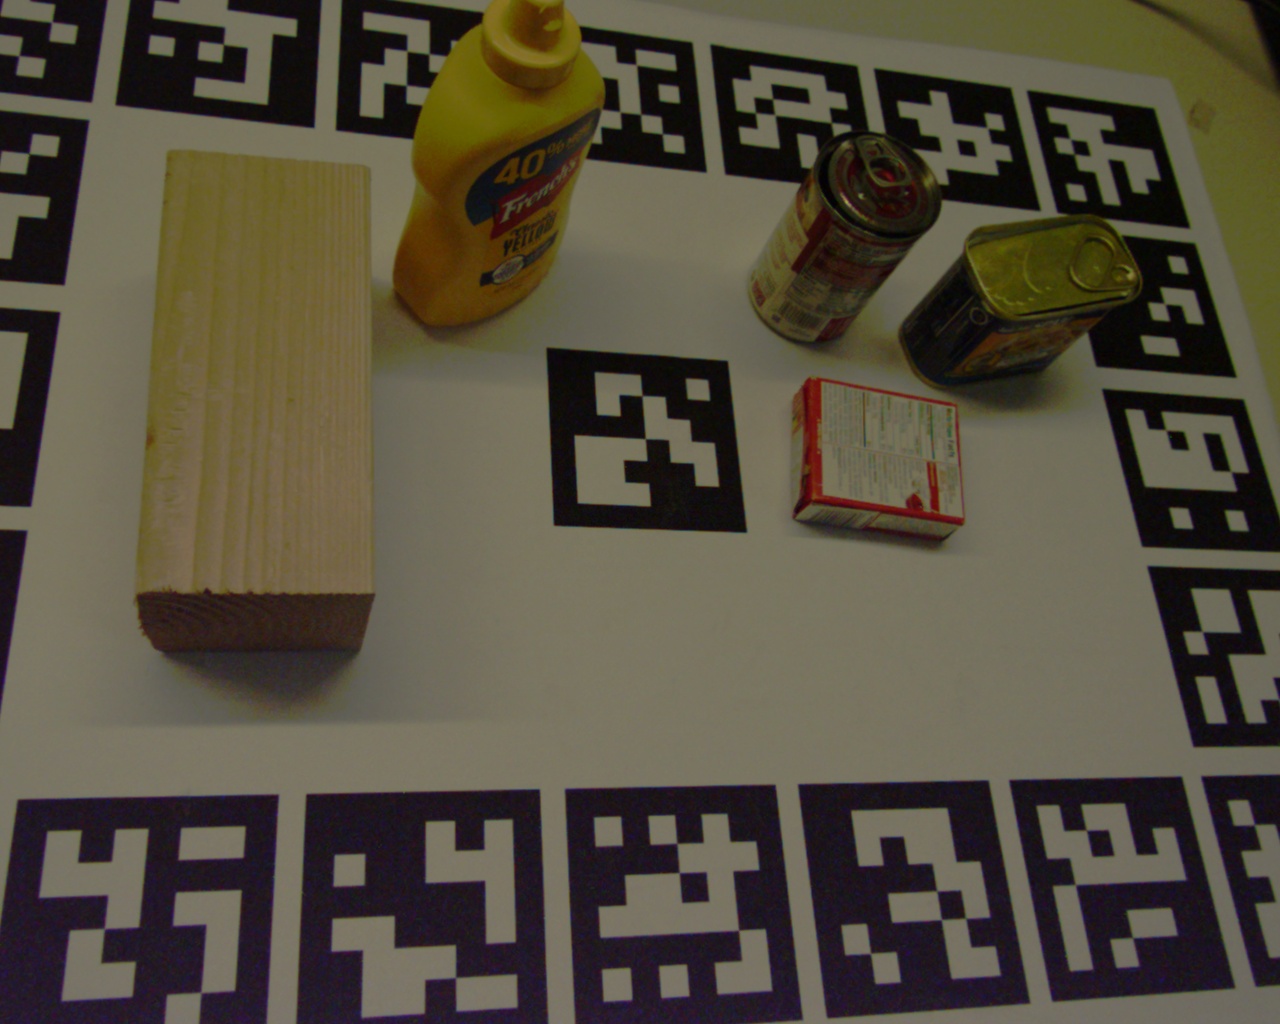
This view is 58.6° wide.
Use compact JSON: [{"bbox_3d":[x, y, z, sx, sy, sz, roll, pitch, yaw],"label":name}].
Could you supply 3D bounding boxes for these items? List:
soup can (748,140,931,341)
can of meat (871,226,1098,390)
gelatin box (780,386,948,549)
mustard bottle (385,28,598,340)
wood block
[{"bbox_3d":[0.108,-0.148,0.639,0.067,0.102,0.068,5,68,-13],"label":"soup can"},{"bbox_3d":[0.198,-0.118,0.671,0.101,0.084,0.058,-11,72,-22],"label":"can of meat"},{"bbox_3d":[0.125,-0.024,0.636,0.089,0.030,0.073,11,67,-8],"label":"gelatin box"},{"bbox_3d":[-0.070,-0.160,0.562,0.095,0.192,0.059,-24,76,-25],"label":"mustard bottle"},{"bbox_3d":[-0.169,-0.048,0.540,0.090,0.090,0.207,3,63,-16],"label":"wood block"}]
